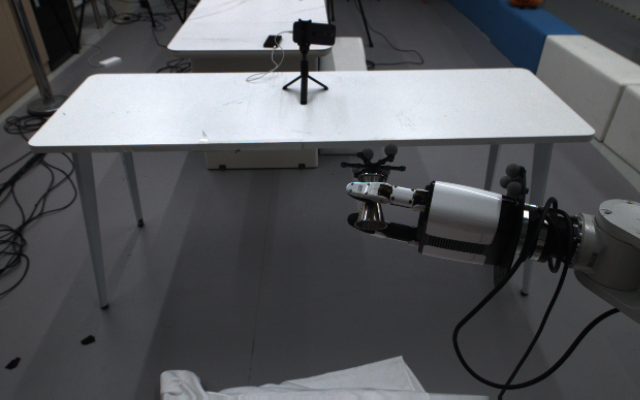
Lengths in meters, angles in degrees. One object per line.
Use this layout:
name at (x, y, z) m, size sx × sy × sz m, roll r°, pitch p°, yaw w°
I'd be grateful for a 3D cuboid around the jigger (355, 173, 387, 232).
jigger at (0.068, 0.002, 0.655) m, size 0.043 × 0.043 × 0.071 m, roll 4°, pitch 71°, yaw 3°
